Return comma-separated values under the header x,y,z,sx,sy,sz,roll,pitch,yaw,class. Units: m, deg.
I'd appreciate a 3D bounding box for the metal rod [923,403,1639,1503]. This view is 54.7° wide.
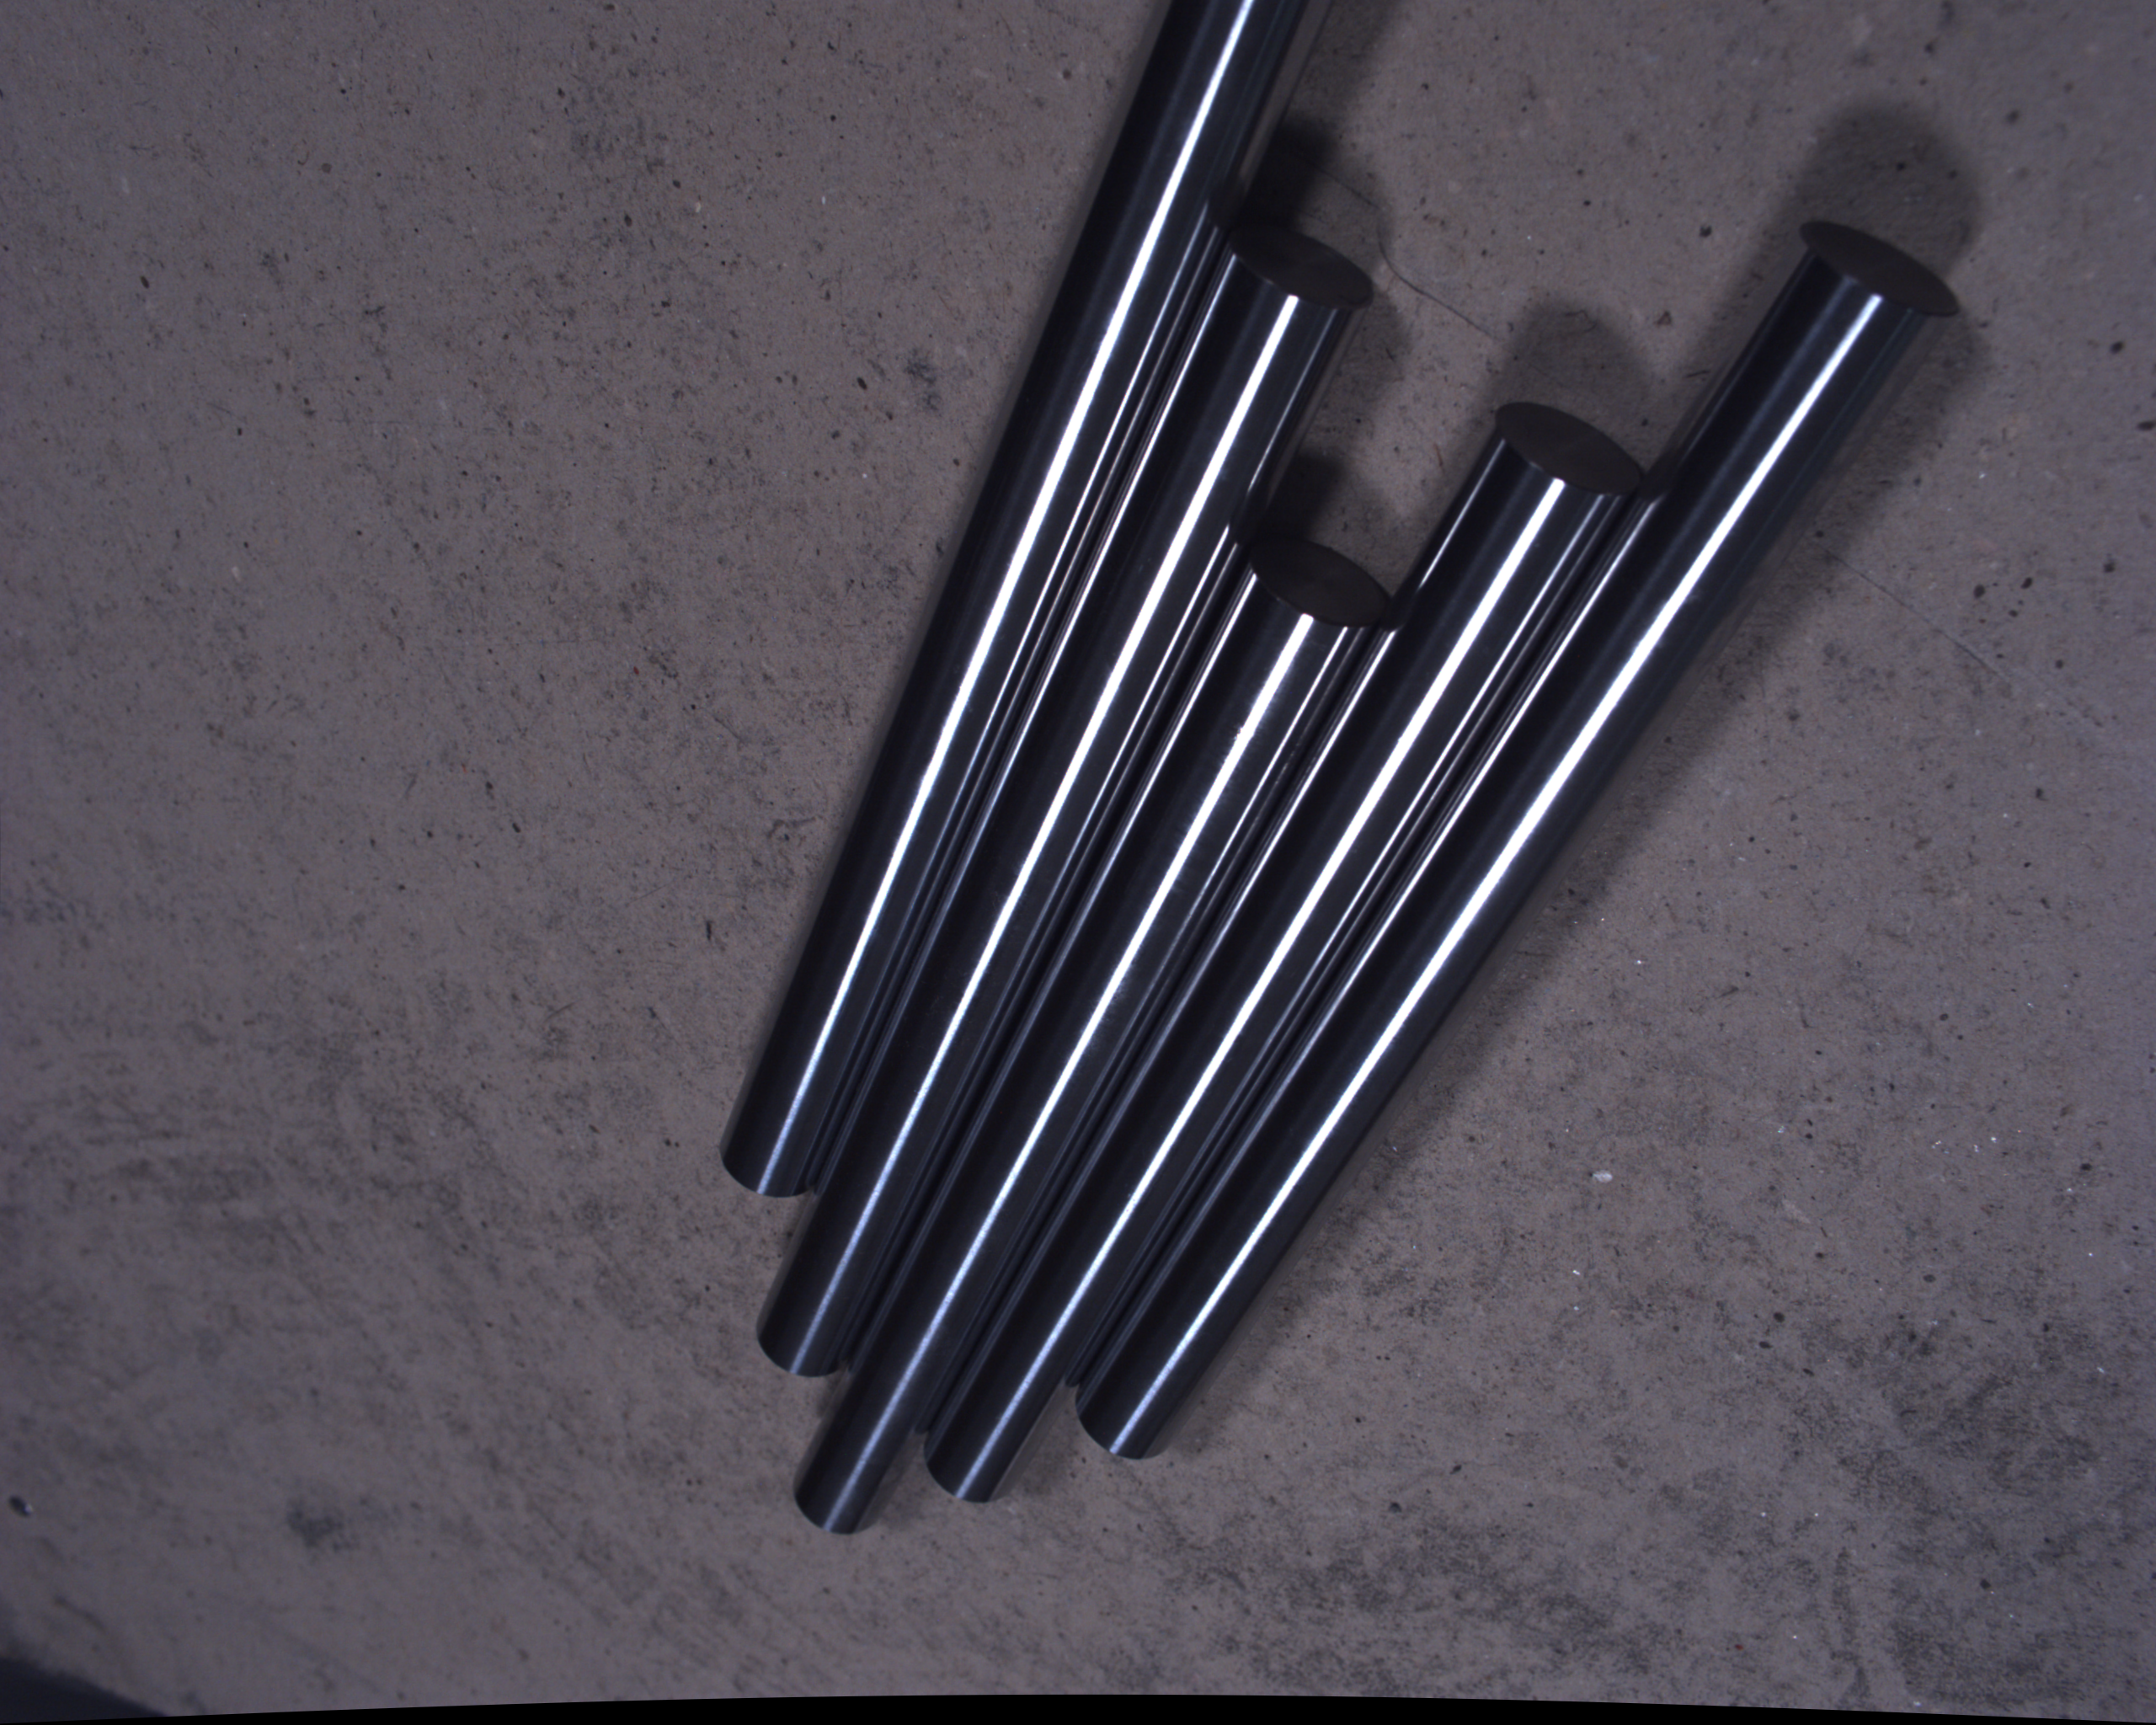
x,y,z,sx,sy,sz,roll,pitch,yaw,class
0.025,0.040,0.418,0.025,0.025,0.298,32,129,7,metal rod

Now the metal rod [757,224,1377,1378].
x,y,z,sx,sy,sz,roll,pitch,yaw,class
-0.016,0.011,0.422,0.025,0.025,0.298,32,128,7,metal rod

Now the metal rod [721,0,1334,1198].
x,y,z,sx,sy,sz,roll,pitch,yaw,class
-0.020,-0.037,0.395,0.025,0.025,0.298,32,129,7,metal rod

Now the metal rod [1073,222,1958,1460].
x,y,z,sx,sy,sz,roll,pitch,yaw,class
0.062,0.021,0.387,0.025,0.025,0.298,32,129,7,metal rod

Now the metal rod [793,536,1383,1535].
x,y,z,sx,sy,sz,roll,pitch,yaw,class
-0.010,0.057,0.448,0.025,0.025,0.298,32,128,7,metal rod
